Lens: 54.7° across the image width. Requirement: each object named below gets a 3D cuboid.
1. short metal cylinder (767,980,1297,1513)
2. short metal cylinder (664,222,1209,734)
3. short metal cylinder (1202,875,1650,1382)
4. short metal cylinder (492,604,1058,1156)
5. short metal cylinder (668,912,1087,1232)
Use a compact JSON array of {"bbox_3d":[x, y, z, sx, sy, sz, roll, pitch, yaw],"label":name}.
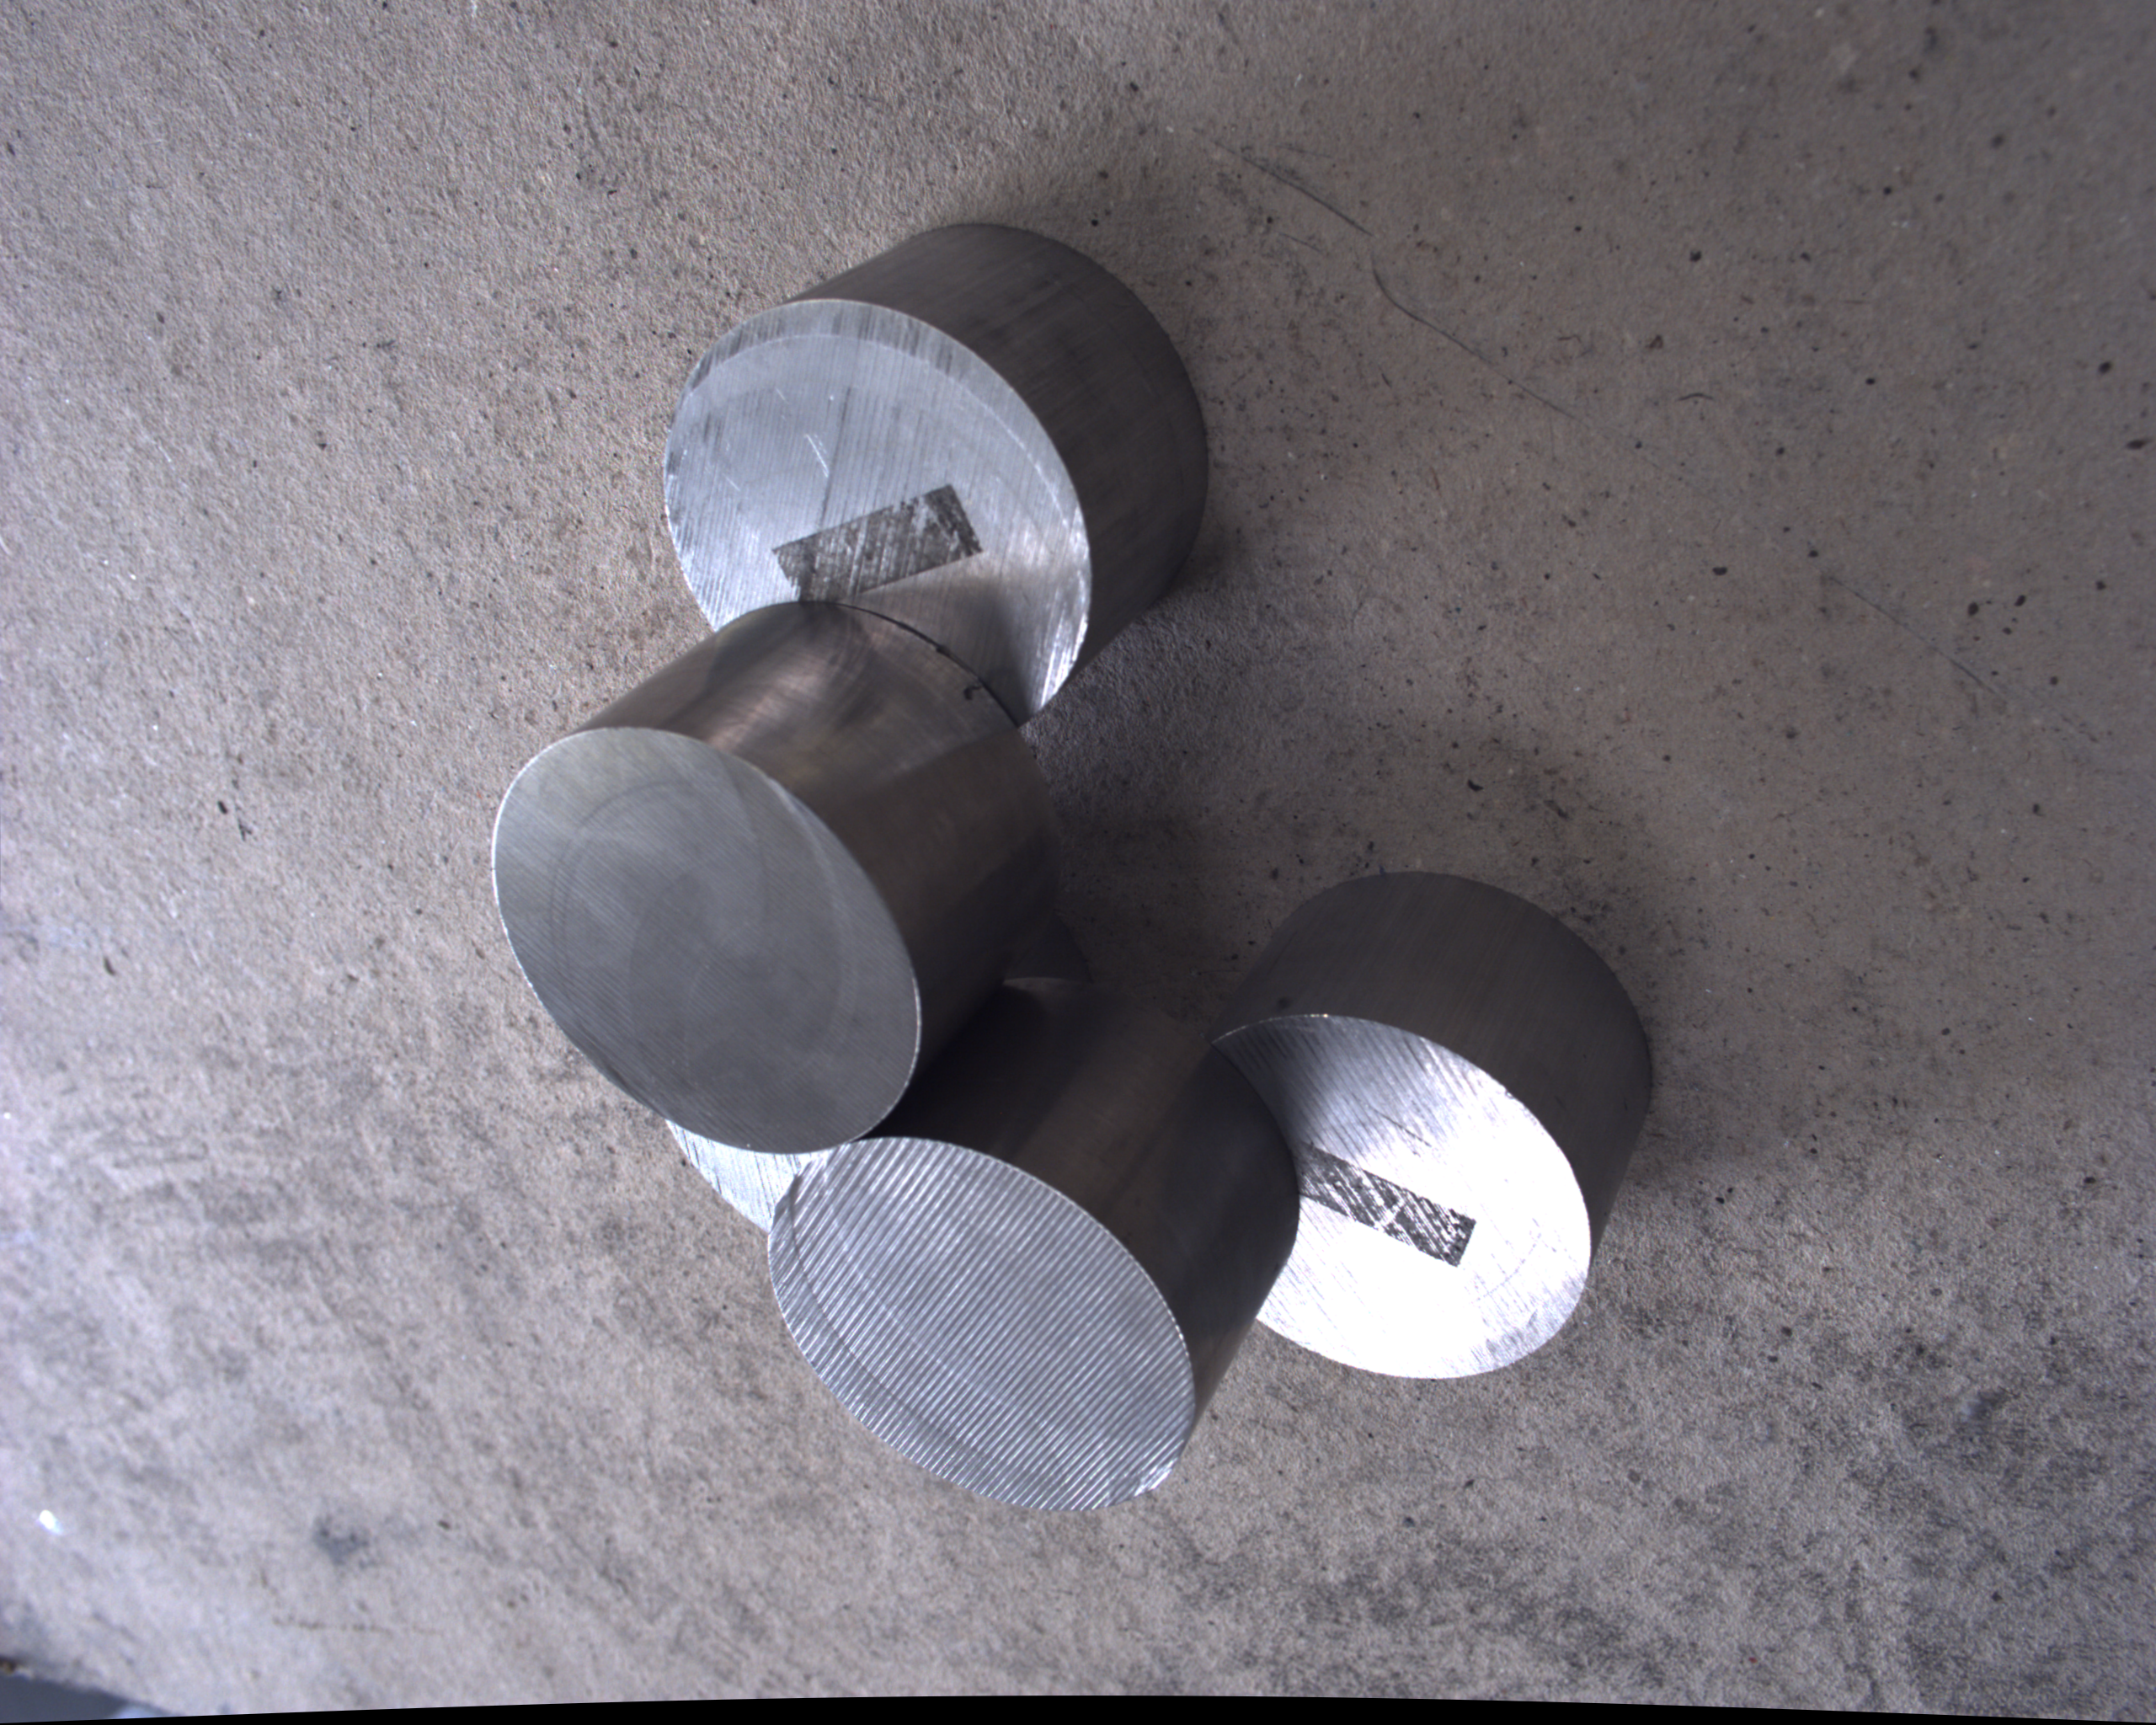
[{"bbox_3d":[-0.007,0.068,0.372,0.080,0.050,0.079,13,124,20],"label":"short metal cylinder"},{"bbox_3d":[-0.024,-0.066,0.365,0.080,0.050,0.079,13,124,21],"label":"short metal cylinder"},{"bbox_3d":[0.061,0.049,0.390,0.080,0.050,0.079,13,124,21],"label":"short metal cylinder"},{"bbox_3d":[-0.051,0.003,0.355,0.080,0.050,0.079,13,124,21],"label":"short metal cylinder"},{"bbox_3d":[-0.043,0.039,0.439,0.080,0.050,0.079,13,124,21],"label":"short metal cylinder"}]
